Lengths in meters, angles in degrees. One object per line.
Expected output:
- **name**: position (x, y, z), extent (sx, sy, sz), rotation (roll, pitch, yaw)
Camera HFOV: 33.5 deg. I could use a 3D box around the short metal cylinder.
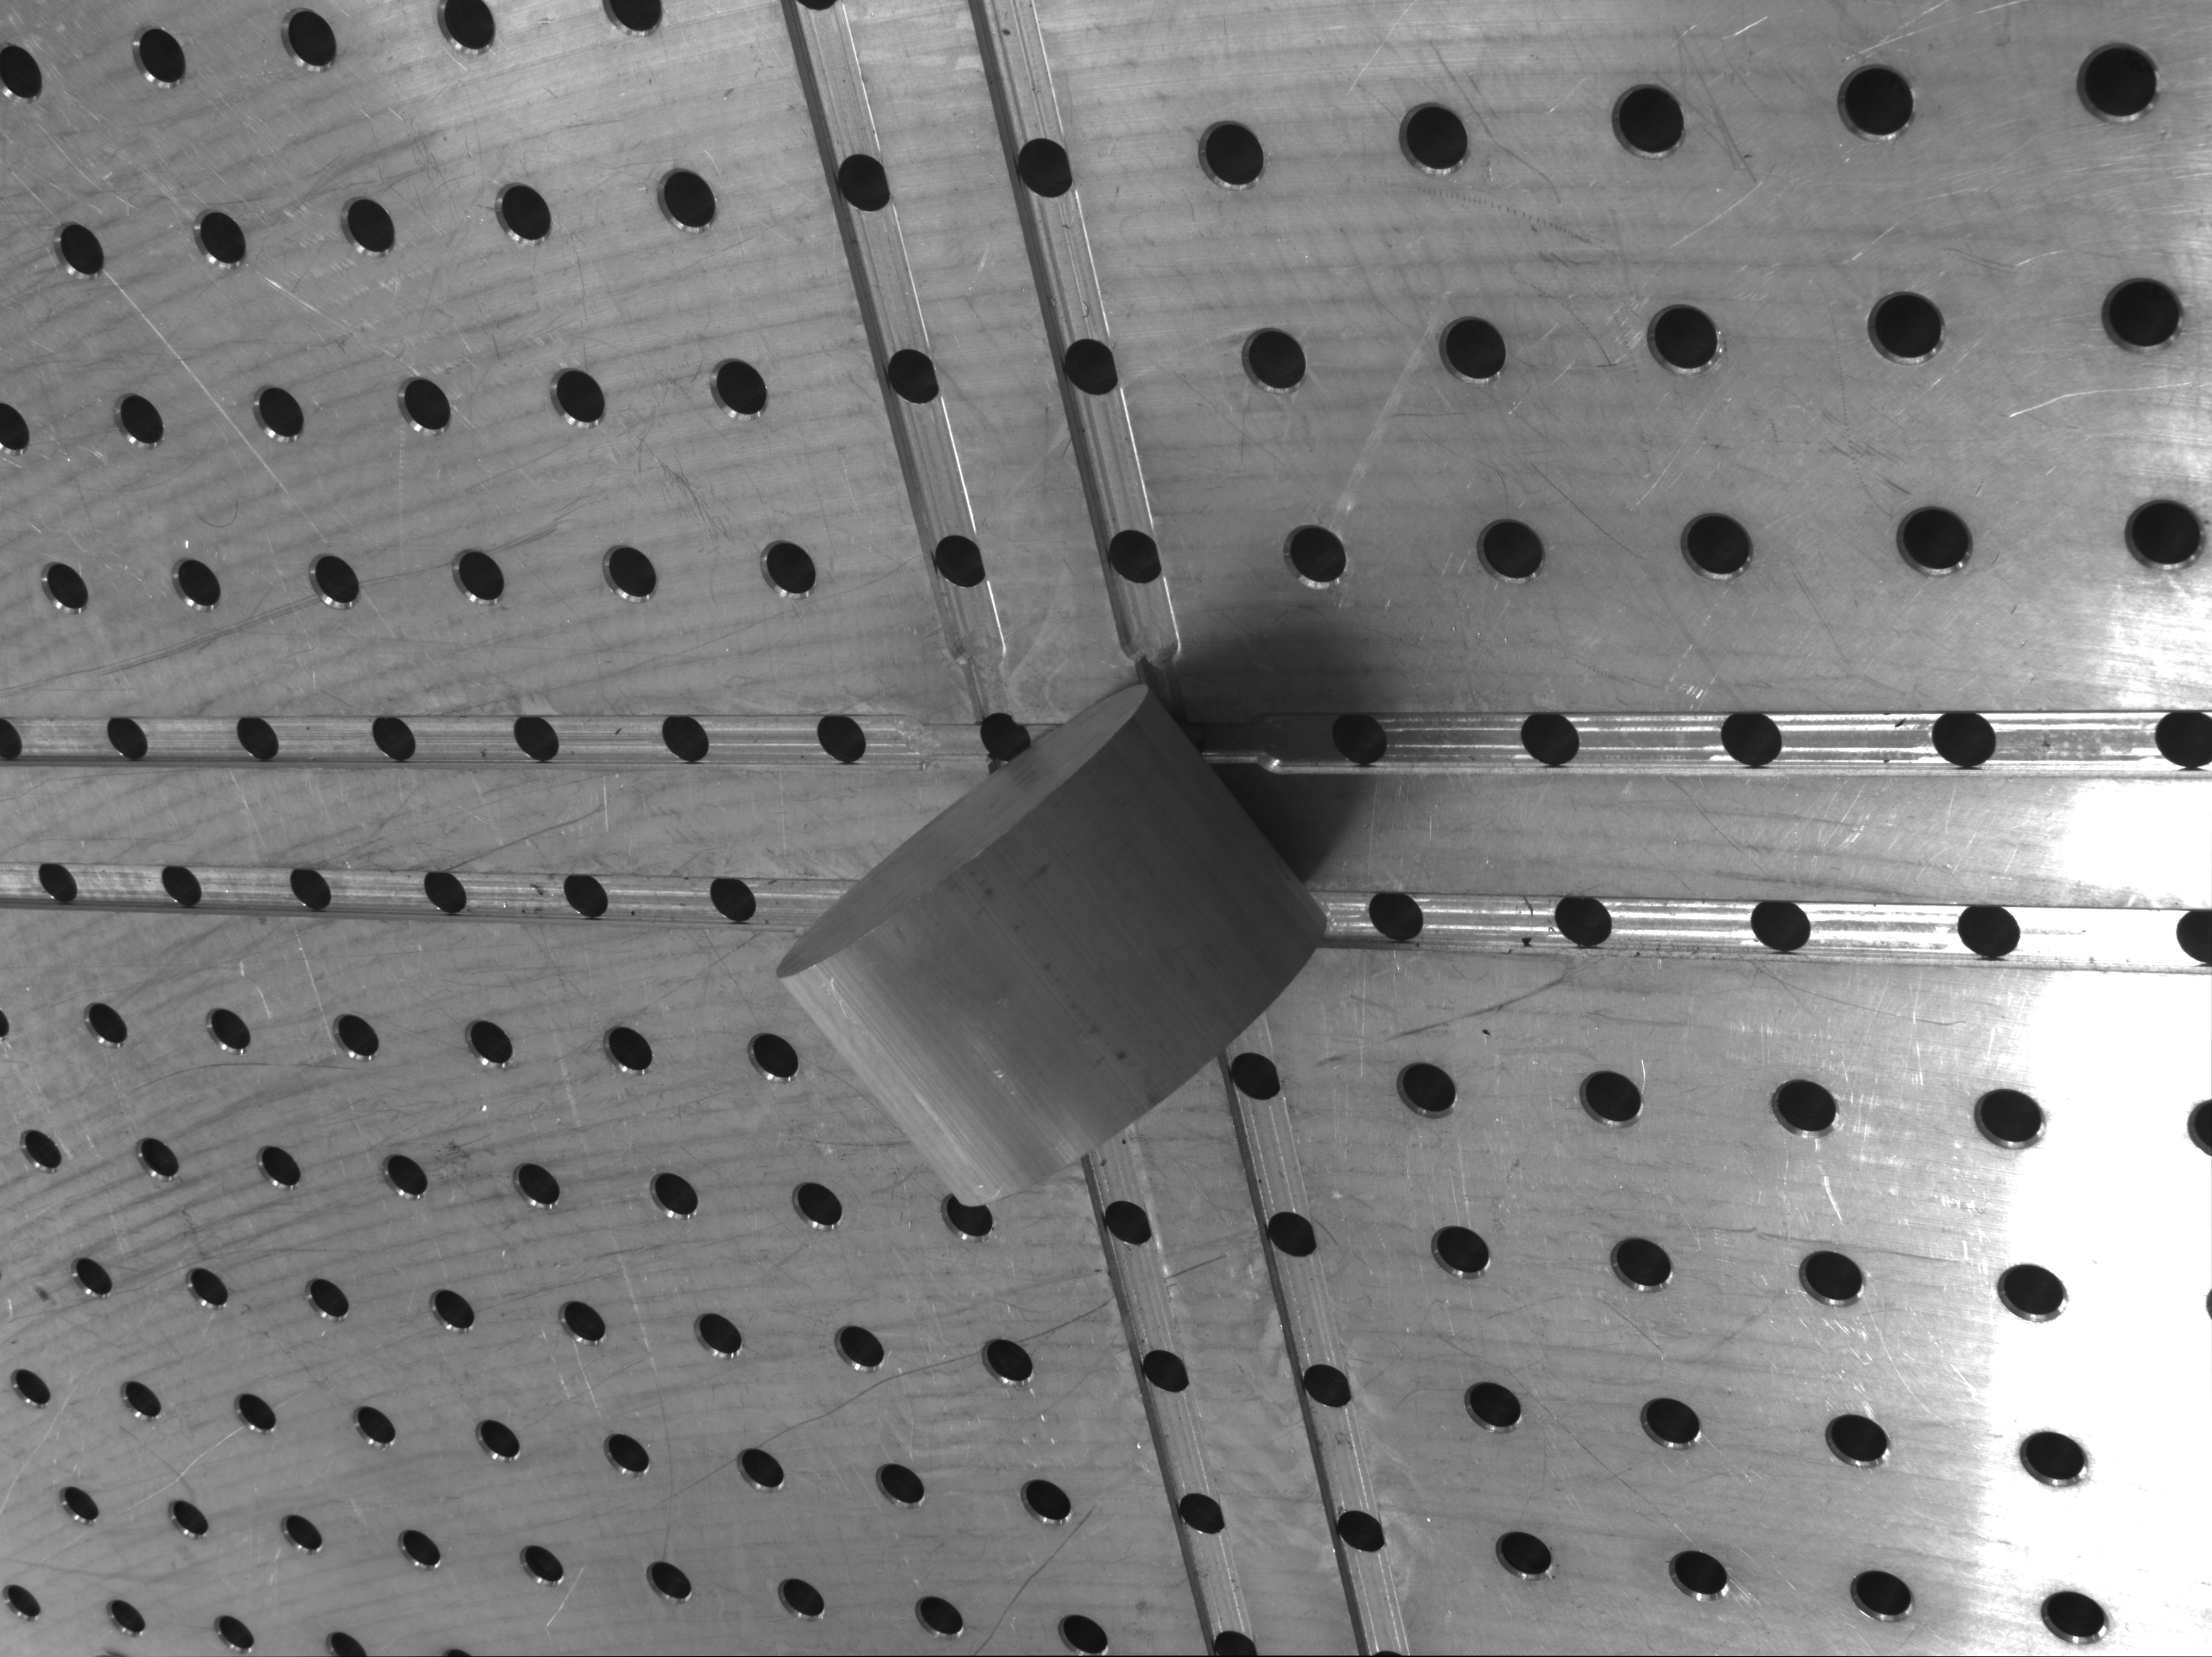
- **short metal cylinder**: position (-0.010, 0.020, 0.627), extent (0.080, 0.080, 0.050), rotation (-32, 99, 38)
